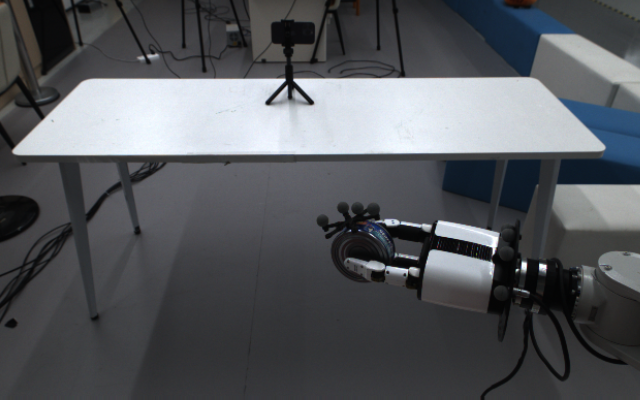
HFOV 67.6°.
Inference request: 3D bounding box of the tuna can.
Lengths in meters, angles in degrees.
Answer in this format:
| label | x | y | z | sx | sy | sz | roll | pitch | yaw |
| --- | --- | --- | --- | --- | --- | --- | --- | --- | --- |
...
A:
| label | x | y | z | sx | sy | sz | roll | pitch | yaw |
| --- | --- | --- | --- | --- | --- | --- | --- | --- | --- |
| tuna can | 0.063 | 0.078 | 0.673 | 0.085 | 0.085 | 0.034 | 15 | 30 | 18 |
